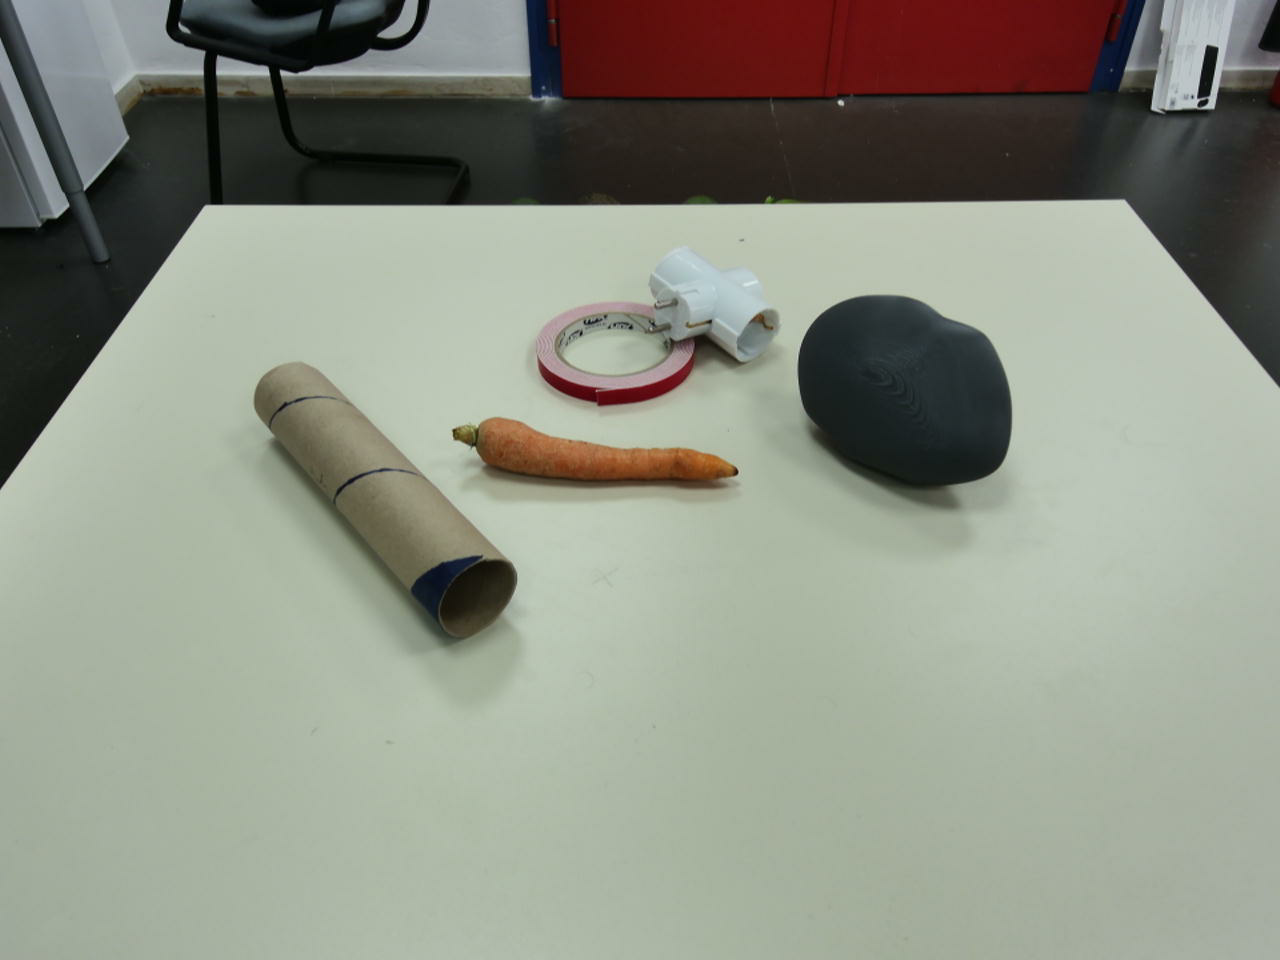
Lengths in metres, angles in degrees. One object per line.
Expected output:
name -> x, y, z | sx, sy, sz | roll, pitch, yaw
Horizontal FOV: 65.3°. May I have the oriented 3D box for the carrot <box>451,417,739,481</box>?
carrot -> -0.027, -0.015, 0.598 | 0.173, 0.032, 0.030 | 6, 40, 7
